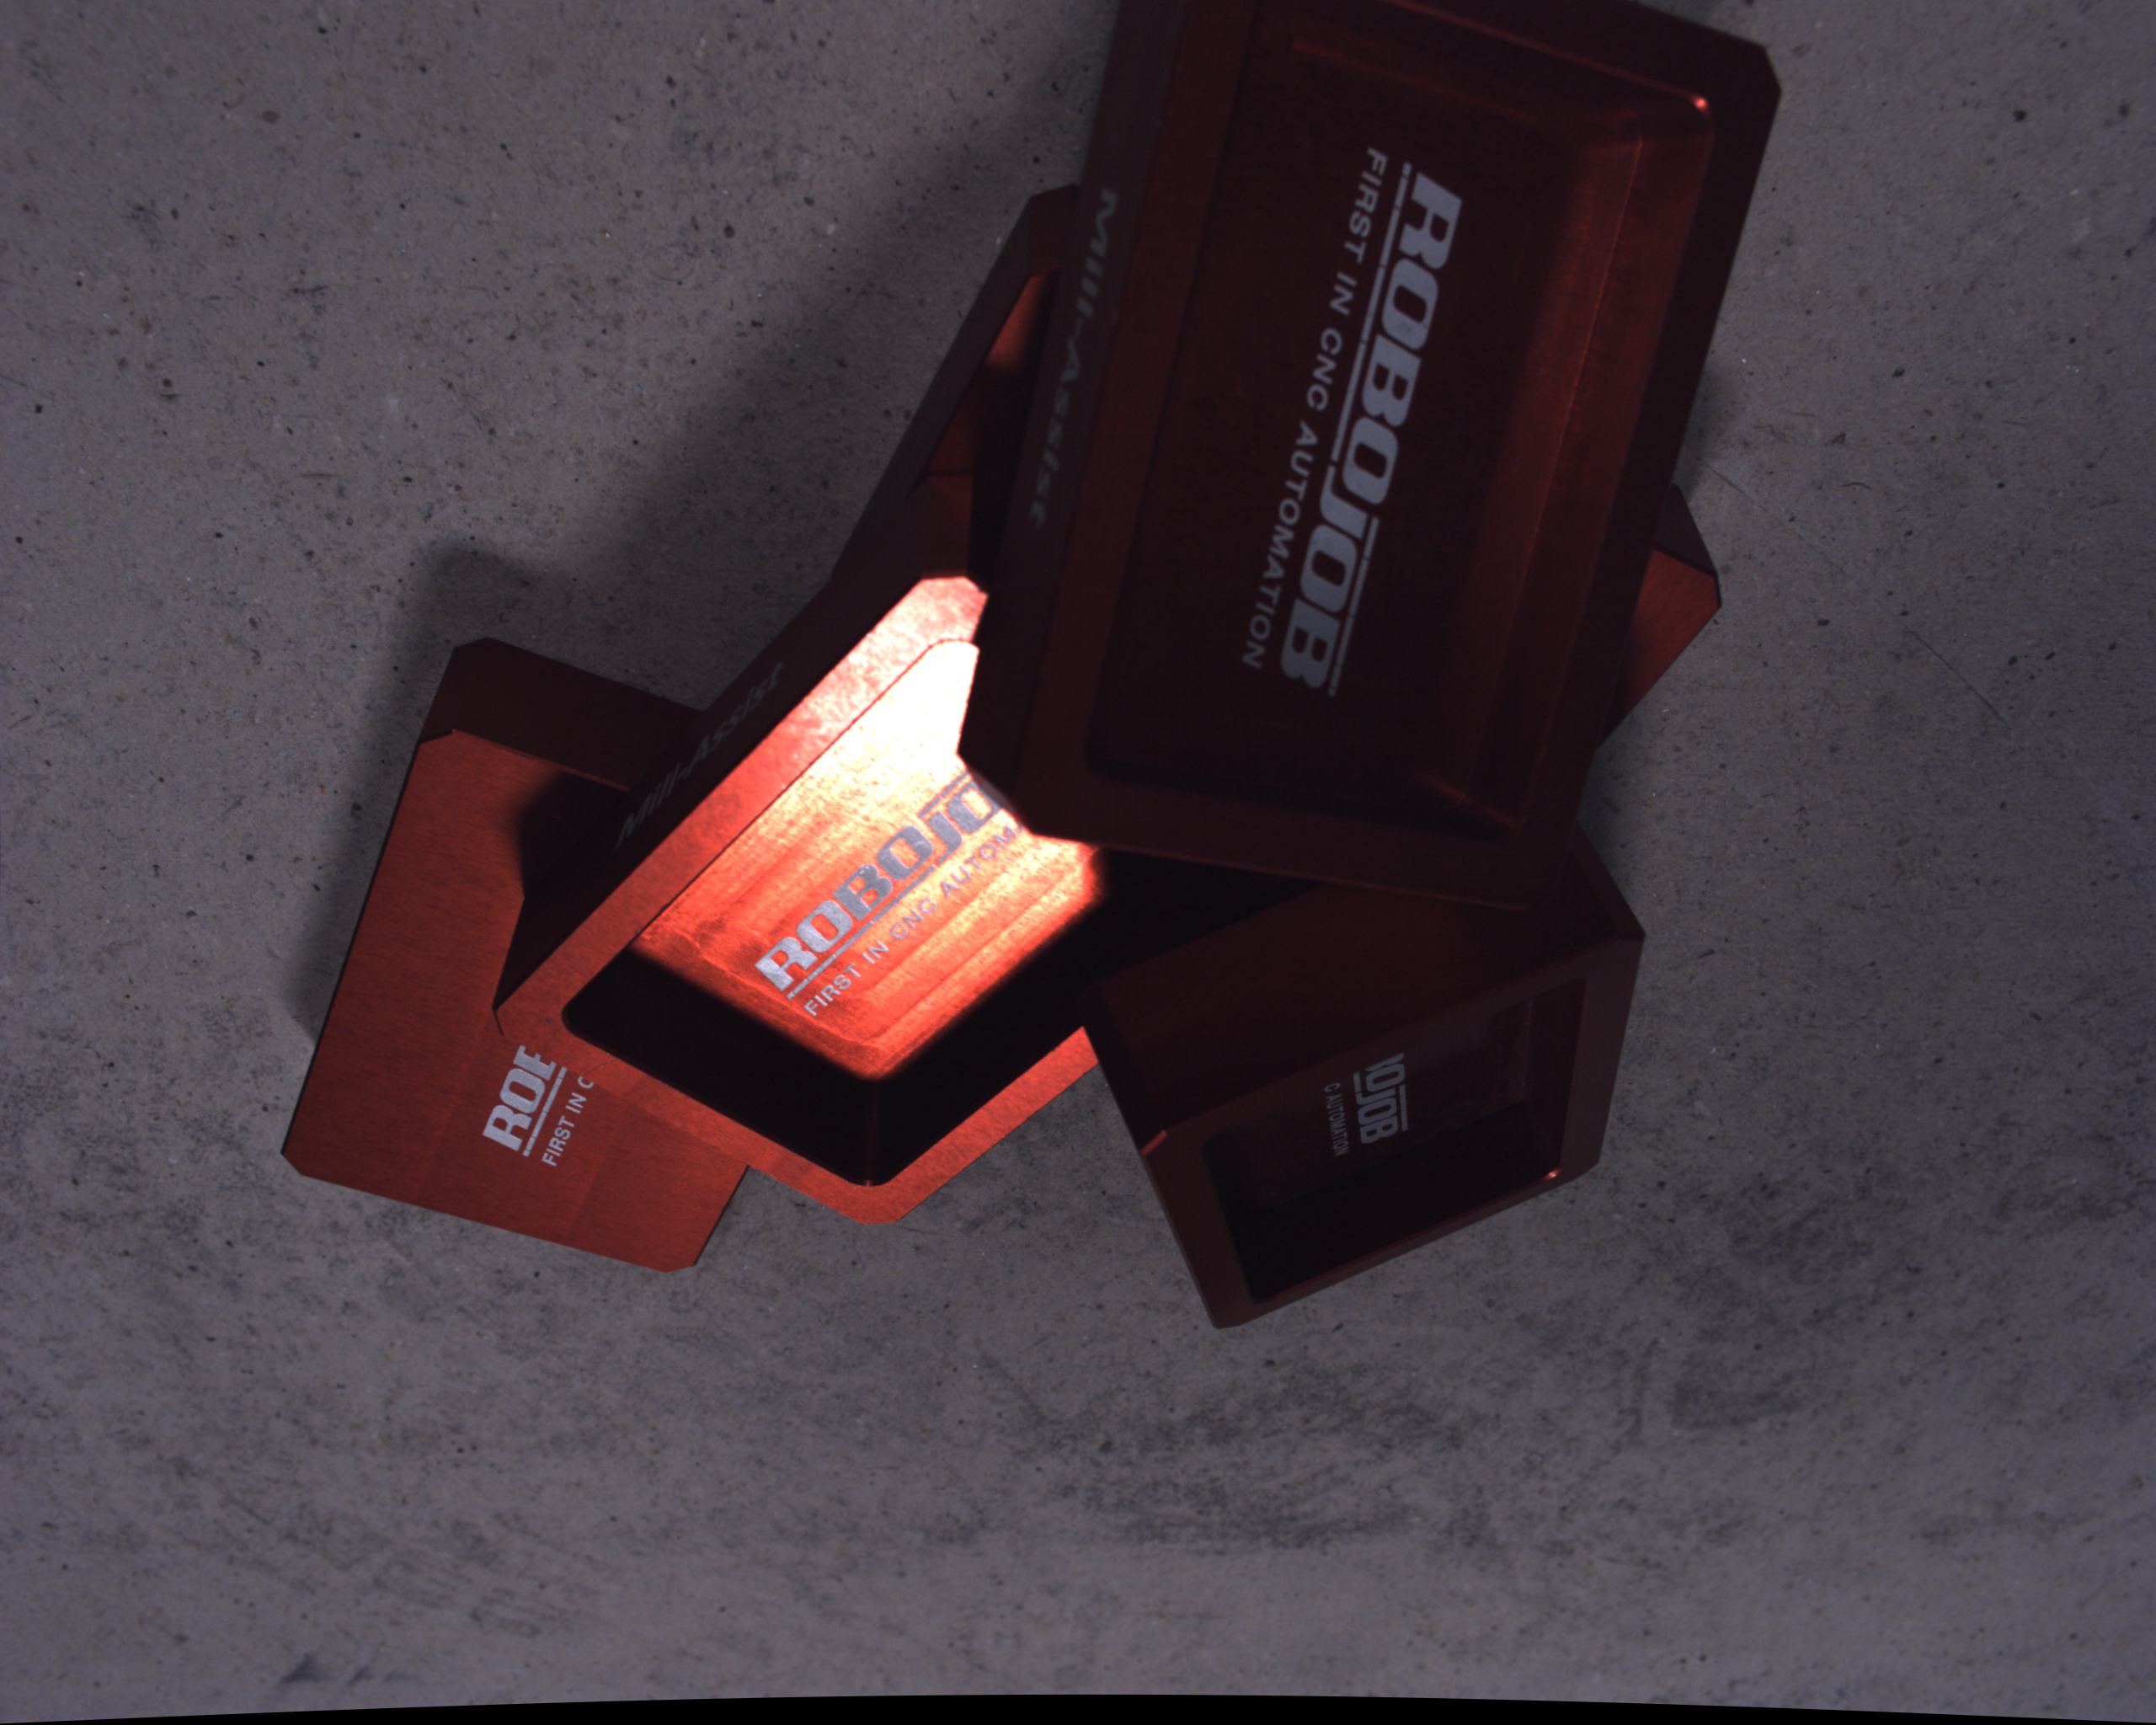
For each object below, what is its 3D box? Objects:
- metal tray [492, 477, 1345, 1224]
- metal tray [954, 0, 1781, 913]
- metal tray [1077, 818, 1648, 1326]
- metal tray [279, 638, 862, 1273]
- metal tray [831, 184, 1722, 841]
[{"bbox_3d":[-0.029,0.004,0.369,0.090,0.030,0.130,34,122,-26],"label":"metal tray"},{"bbox_3d":[0.041,-0.063,0.307,0.091,0.030,0.129,9,103,-21],"label":"metal tray"},{"bbox_3d":[0.056,0.044,0.399,0.090,0.030,0.130,-23,153,-2],"label":"metal tray"},{"bbox_3d":[-0.101,0.025,0.424,0.091,0.030,0.129,19,127,-16],"label":"metal tray"},{"bbox_3d":[0.032,-0.048,0.365,0.131,0.030,0.089,21,127,-18],"label":"metal tray"}]
